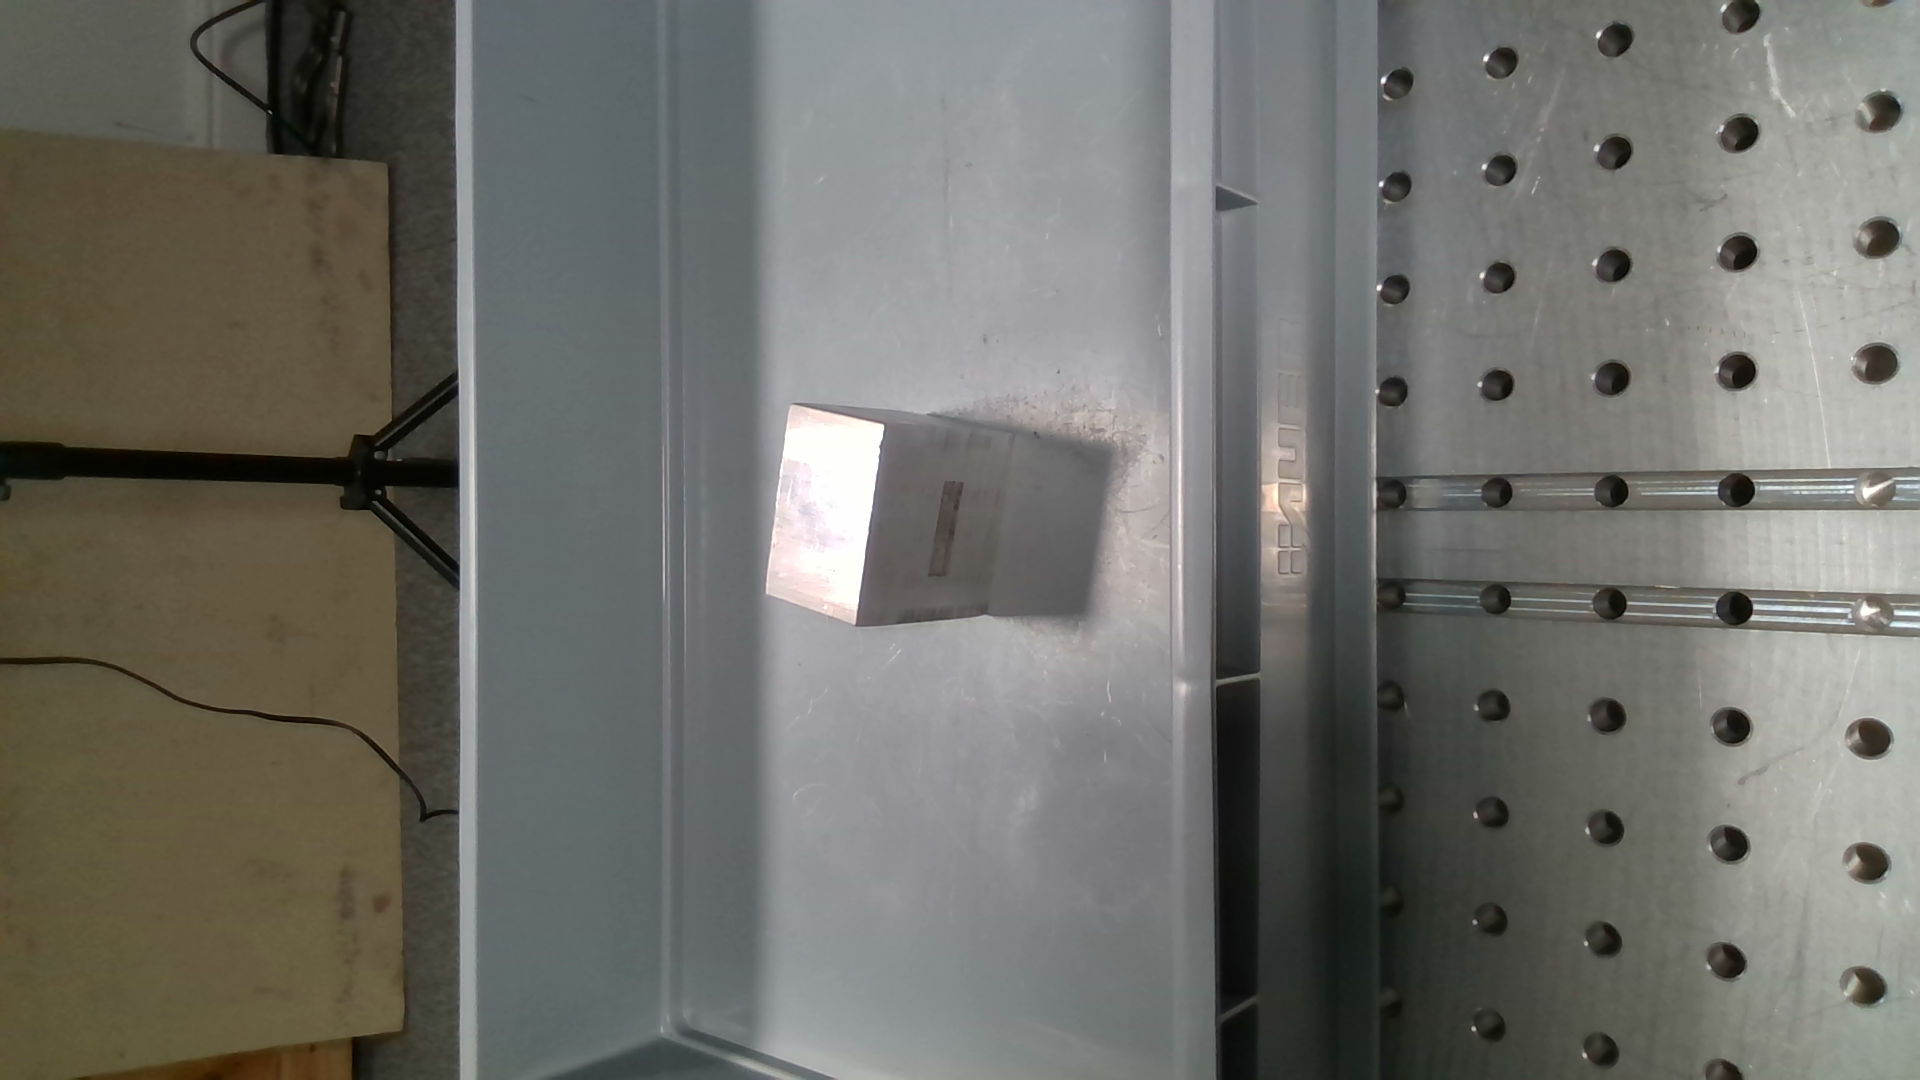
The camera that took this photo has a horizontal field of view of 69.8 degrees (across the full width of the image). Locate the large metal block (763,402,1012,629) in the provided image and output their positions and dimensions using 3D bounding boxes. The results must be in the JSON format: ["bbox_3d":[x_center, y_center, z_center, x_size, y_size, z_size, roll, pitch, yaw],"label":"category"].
[{"bbox_3d":[-0.029,-0.010,0.568,0.050,0.080,0.080,16,101,39],"label":"large metal block"}]
